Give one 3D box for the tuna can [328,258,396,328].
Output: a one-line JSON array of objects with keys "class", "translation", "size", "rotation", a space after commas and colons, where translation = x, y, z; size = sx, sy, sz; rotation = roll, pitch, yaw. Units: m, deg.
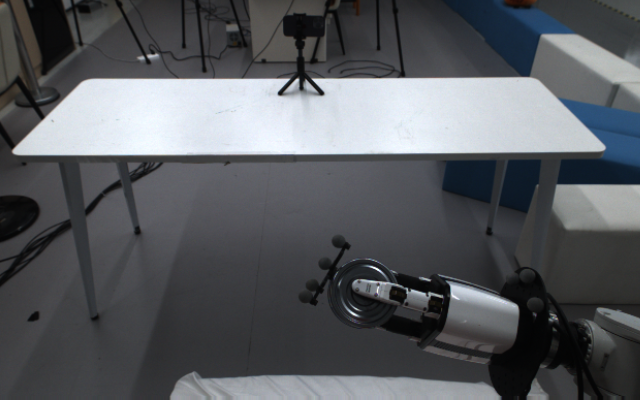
[{"class": "tuna can", "translation": [0.056, 0.112, 0.594], "size": [0.085, 0.034, 0.085], "rotation": [1, 75, -5]}]
